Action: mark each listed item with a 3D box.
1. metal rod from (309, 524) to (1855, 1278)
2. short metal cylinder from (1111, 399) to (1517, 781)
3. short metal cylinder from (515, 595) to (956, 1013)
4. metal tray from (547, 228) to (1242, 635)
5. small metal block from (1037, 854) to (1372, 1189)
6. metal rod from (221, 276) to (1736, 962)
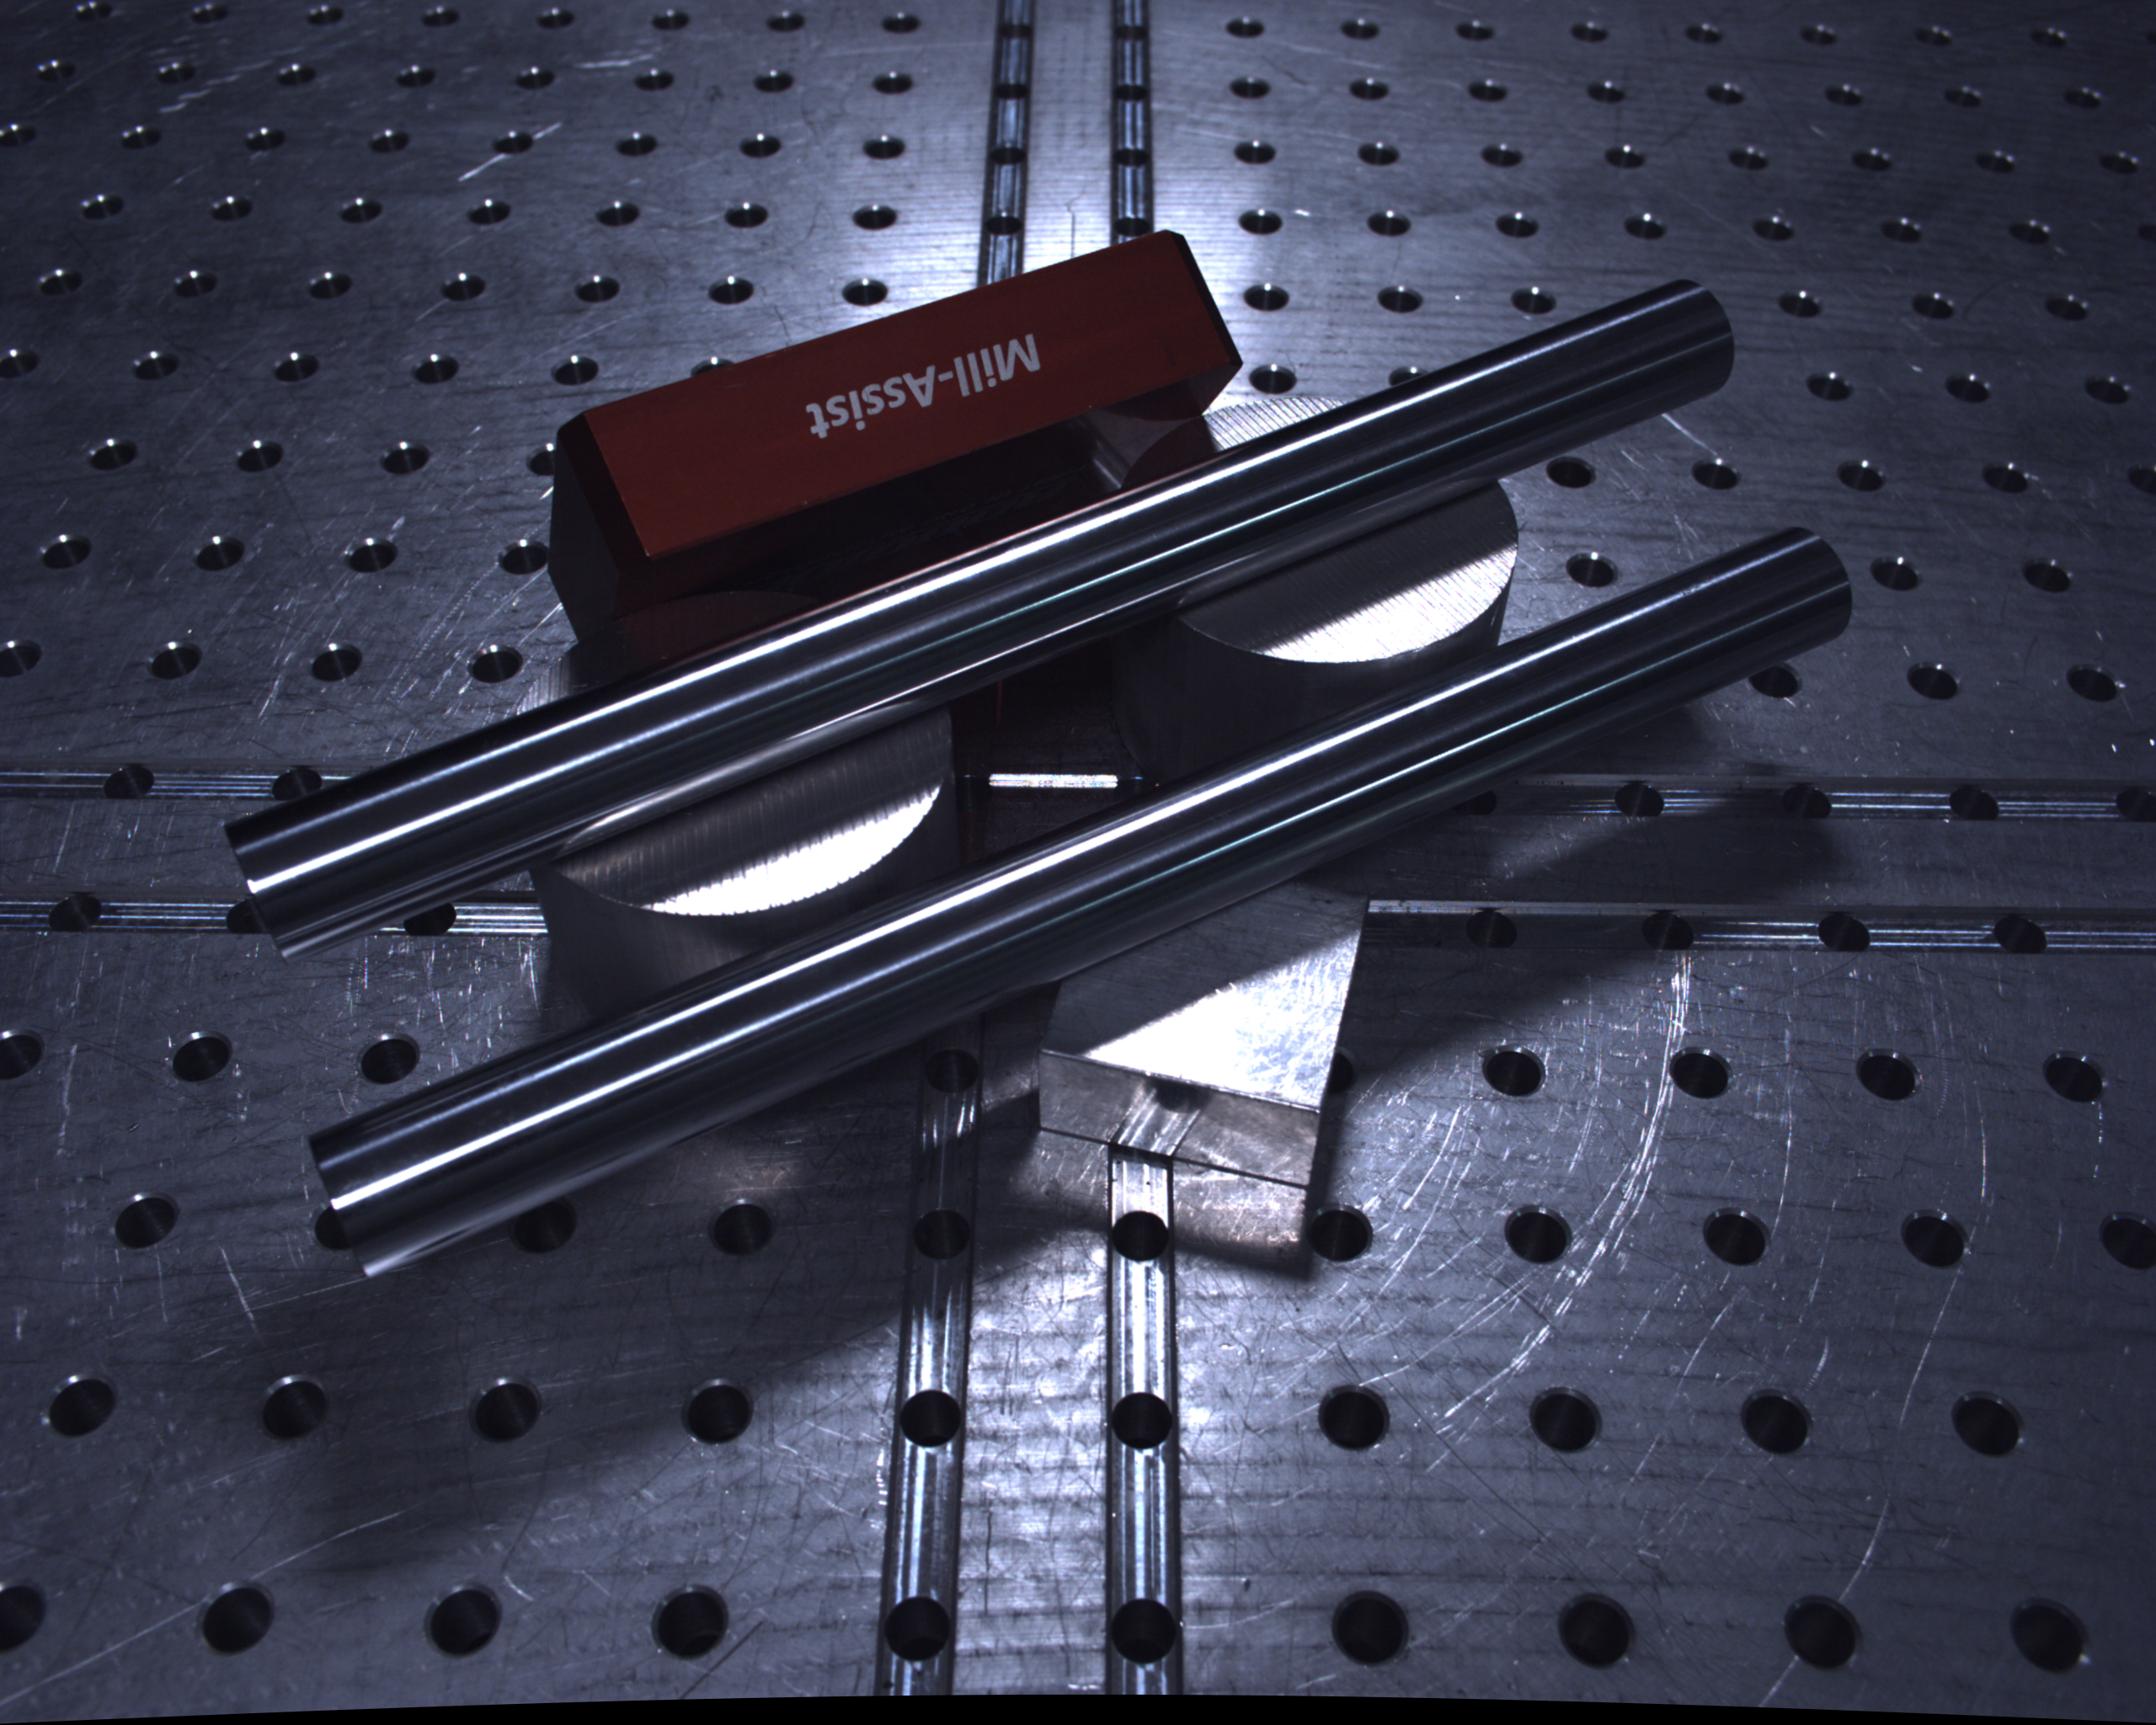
[{"bbox_3d":[0.016,-0.002,0.375,0.302,0.025,0.025,-23,54,-19],"label":"metal rod"},{"bbox_3d":[0.047,-0.052,0.436,0.081,0.050,0.080,0,50,0],"label":"short metal cylinder"},{"bbox_3d":[-0.063,-0.005,0.395,0.081,0.050,0.080,0,50,0],"label":"short metal cylinder"},{"bbox_3d":[-0.041,-0.081,0.431,0.131,0.090,0.030,-23,86,-19],"label":"metal tray"},{"bbox_3d":[0.024,0.027,0.384,0.050,0.025,0.050,12,51,9],"label":"small metal block"},{"bbox_3d":[-0.002,-0.053,0.385,0.302,0.025,0.025,-24,54,-19],"label":"metal rod"}]
